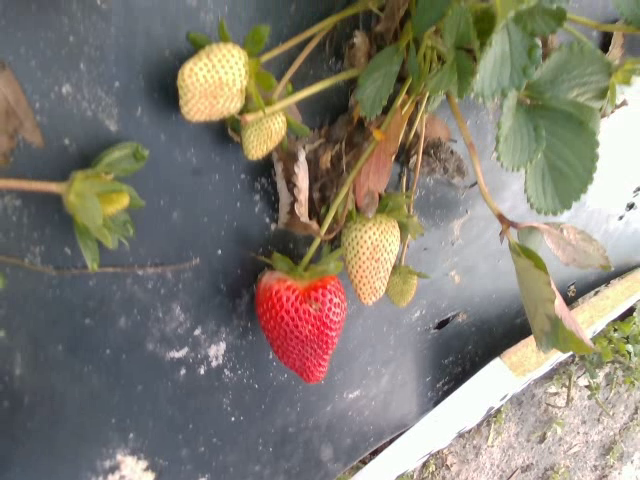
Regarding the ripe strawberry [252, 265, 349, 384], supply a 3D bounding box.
[{"bbox_3d":[-0.006,0.038,0.268,0.050,0.059,0.033,-19,13,-30],"label":"ripe strawberry"}]
